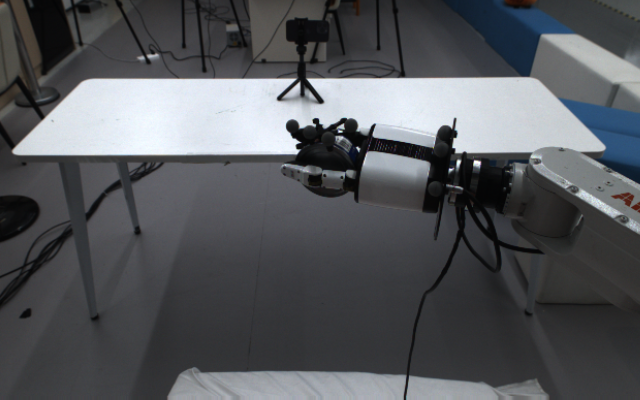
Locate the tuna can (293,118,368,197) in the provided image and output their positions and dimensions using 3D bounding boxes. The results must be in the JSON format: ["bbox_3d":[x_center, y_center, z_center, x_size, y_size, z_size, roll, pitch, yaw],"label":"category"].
[{"bbox_3d":[0.012,-0.048,0.654,0.085,0.085,0.034,11,38,13],"label":"tuna can"}]
